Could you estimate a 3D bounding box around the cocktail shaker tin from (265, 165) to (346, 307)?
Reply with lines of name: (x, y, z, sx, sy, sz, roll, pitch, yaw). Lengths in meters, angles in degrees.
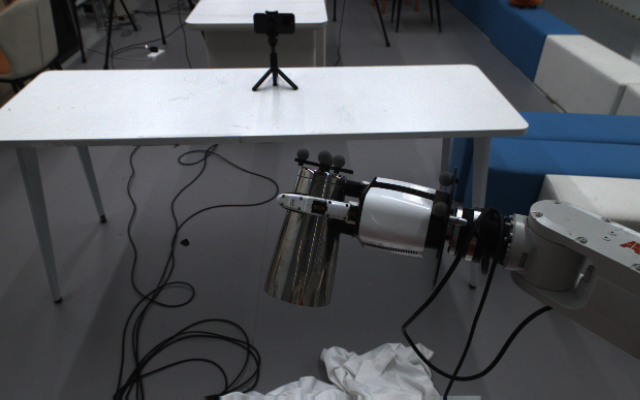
cocktail shaker tin: (-0.011, 0.045, 0.653, 0.093, 0.170, 0.093, 13, 3, -1)
